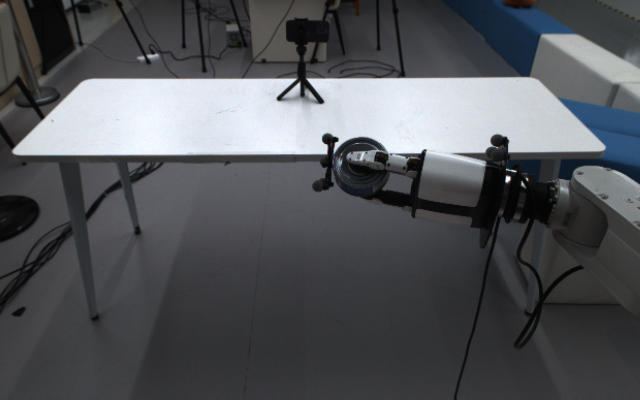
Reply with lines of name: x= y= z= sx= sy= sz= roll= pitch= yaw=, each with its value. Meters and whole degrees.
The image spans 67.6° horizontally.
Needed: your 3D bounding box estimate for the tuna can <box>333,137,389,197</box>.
tuna can: x=0.064 y=-0.048 z=0.719 sx=0.085 sy=0.034 sz=0.085 roll=-2 pitch=69 yaw=6
